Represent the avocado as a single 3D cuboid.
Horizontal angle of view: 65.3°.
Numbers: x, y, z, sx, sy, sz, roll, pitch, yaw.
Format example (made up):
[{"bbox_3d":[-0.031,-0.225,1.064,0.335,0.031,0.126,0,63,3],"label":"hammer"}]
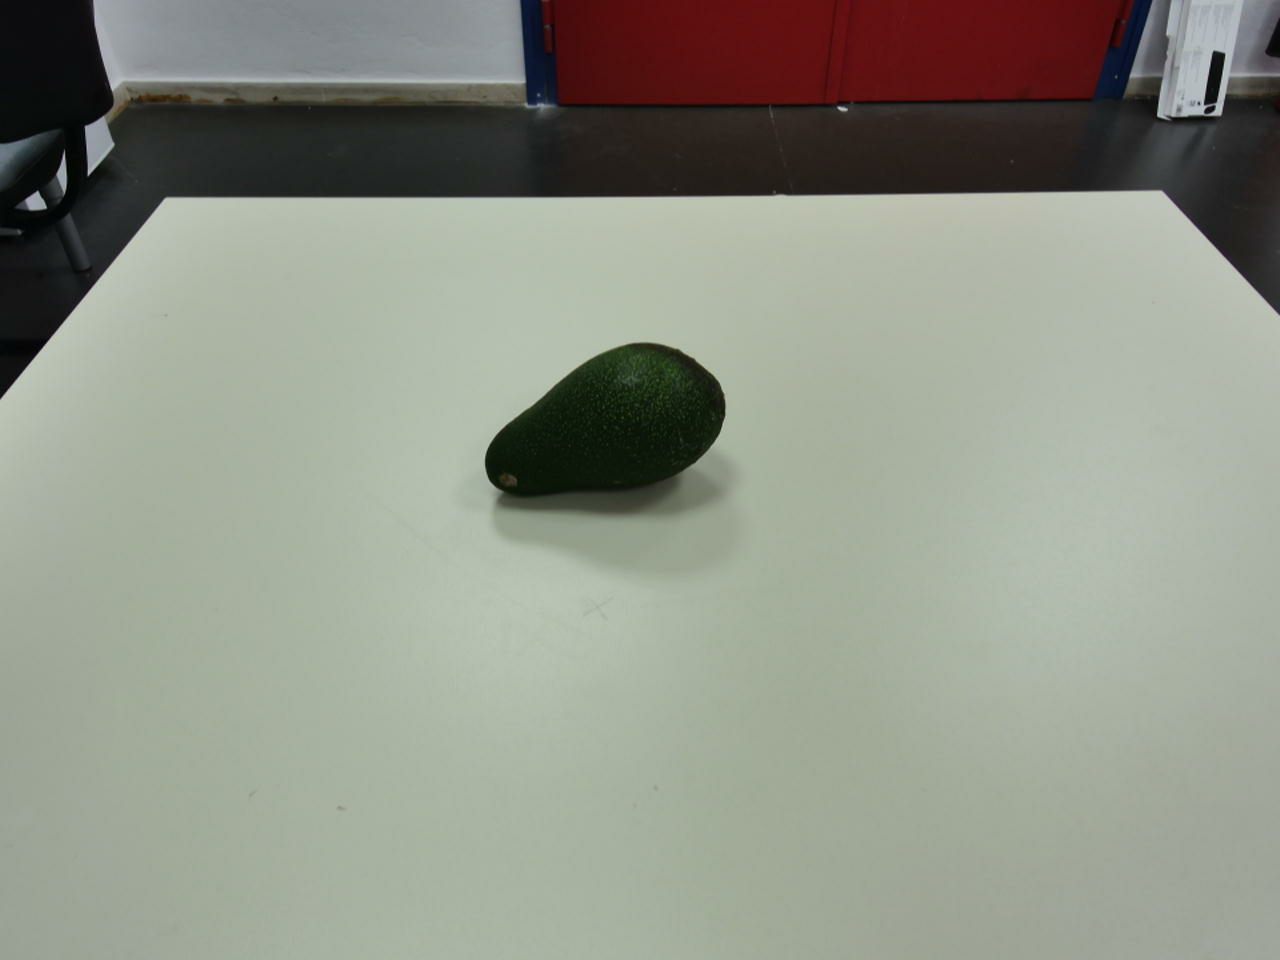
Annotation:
[{"bbox_3d":[-0.017,-0.034,0.520,0.123,0.076,0.074,5,39,5],"label":"avocado"}]
